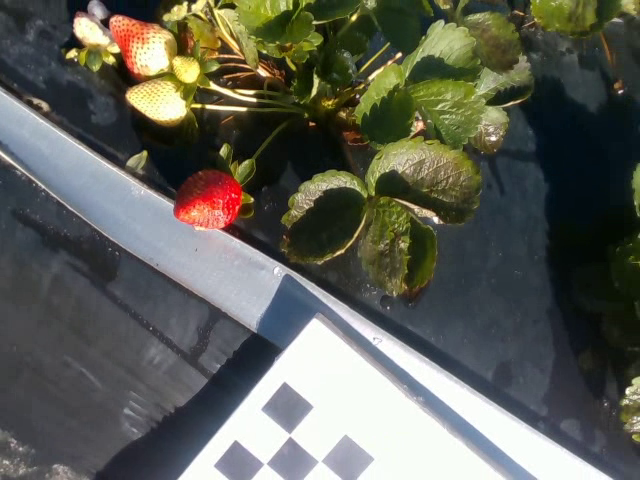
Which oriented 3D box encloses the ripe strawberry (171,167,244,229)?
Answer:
[{"bbox_3d":[-0.058,-0.019,0.276,0.036,0.038,0.045,40,24,6],"label":"ripe strawberry"}]
